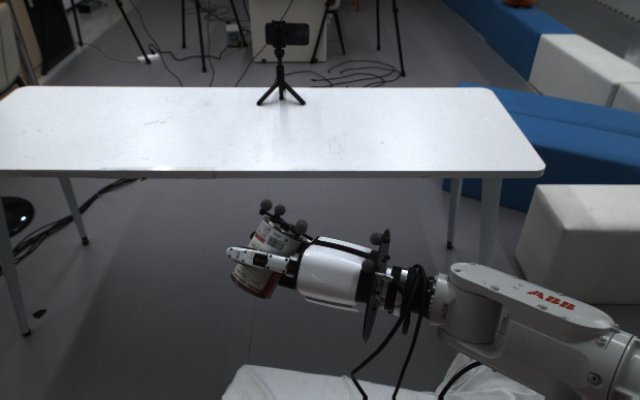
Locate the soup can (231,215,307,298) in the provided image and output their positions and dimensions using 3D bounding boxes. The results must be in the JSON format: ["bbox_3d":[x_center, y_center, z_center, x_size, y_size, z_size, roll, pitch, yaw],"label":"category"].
[{"bbox_3d":[-0.076,0.085,0.708,0.067,0.101,0.067,30,2,-1],"label":"soup can"}]
